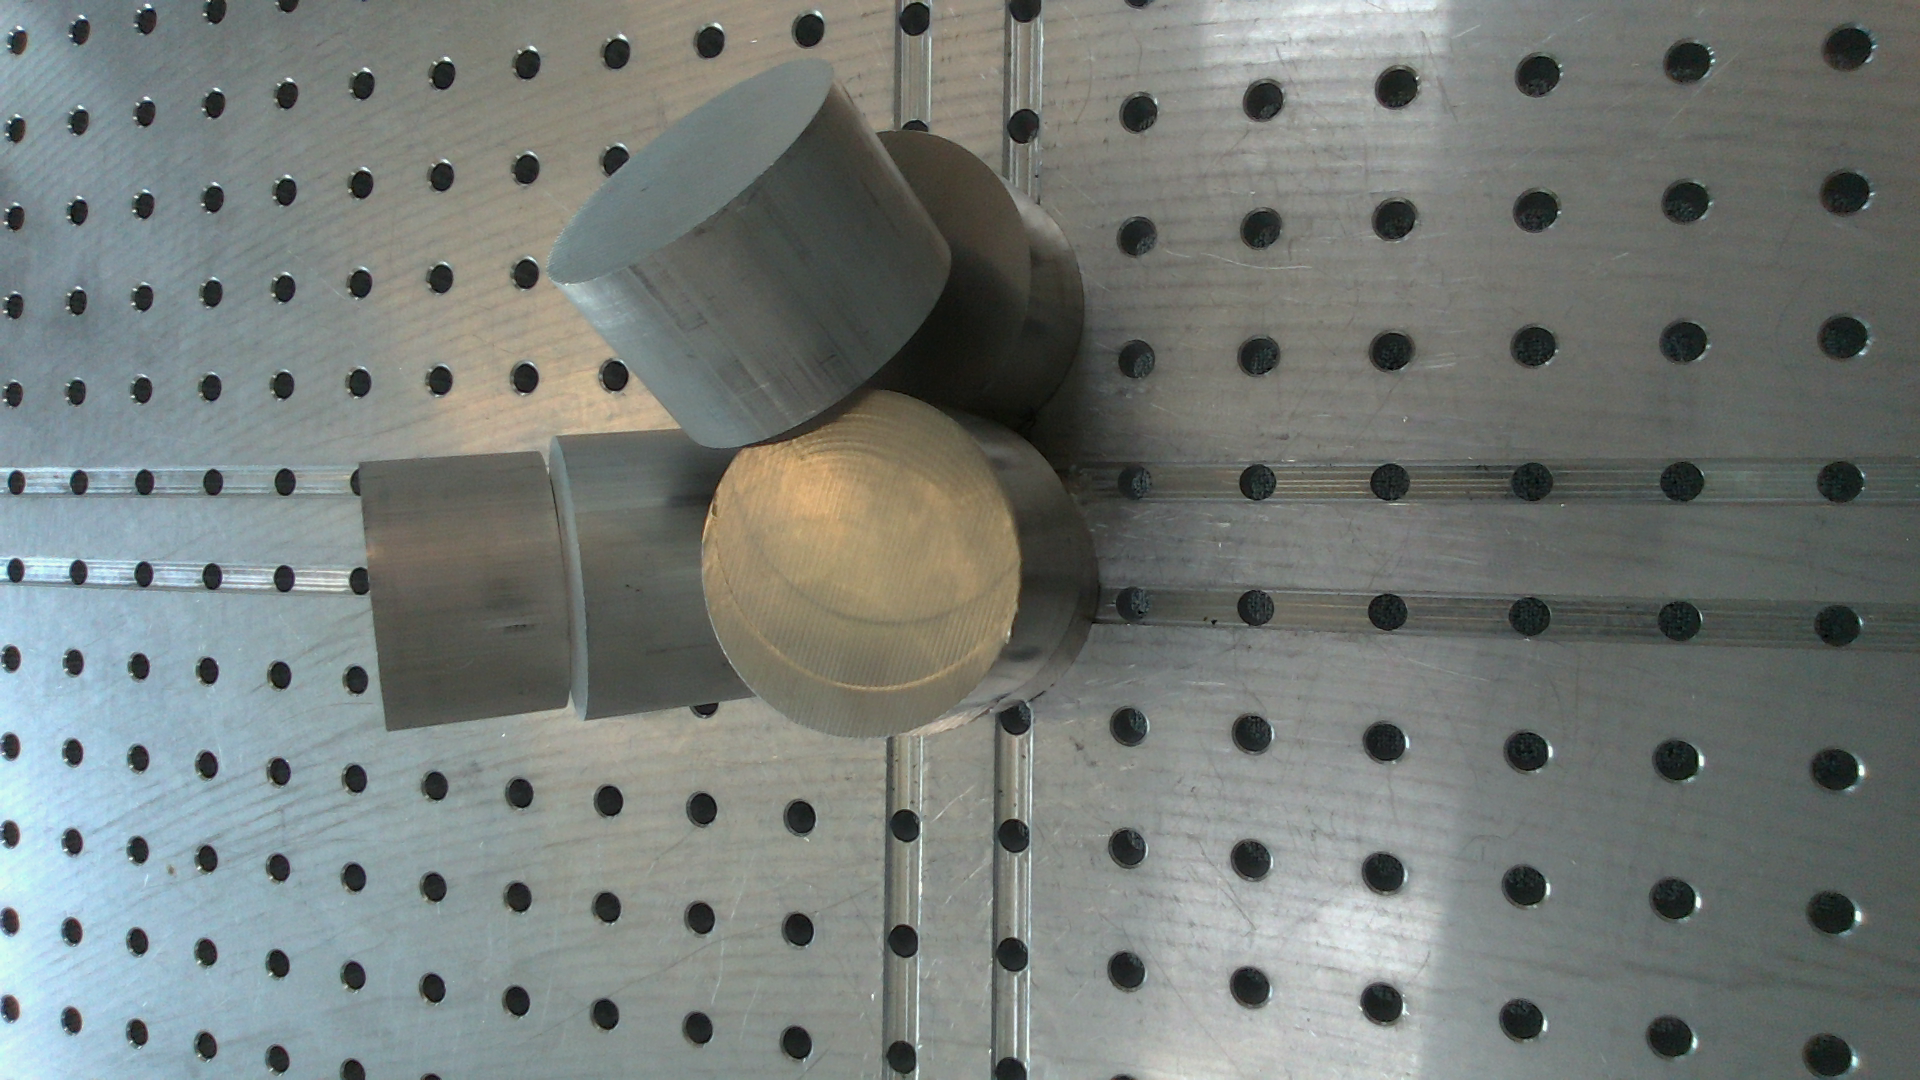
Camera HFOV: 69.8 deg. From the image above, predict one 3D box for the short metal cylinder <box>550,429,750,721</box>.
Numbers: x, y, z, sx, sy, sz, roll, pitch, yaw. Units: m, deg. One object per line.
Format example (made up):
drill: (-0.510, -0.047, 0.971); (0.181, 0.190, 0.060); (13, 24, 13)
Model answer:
short metal cylinder: (-0.087, 0.008, 0.393); (0.050, 0.080, 0.080); (-6, 88, -21)

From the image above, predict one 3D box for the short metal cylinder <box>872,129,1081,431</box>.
short metal cylinder: (-0.011, -0.069, 0.389); (0.080, 0.050, 0.080); (0, 90, 20)

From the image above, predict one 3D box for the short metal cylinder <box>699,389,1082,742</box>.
short metal cylinder: (-0.016, 0.006, 0.336); (0.080, 0.050, 0.080); (0, 90, 20)

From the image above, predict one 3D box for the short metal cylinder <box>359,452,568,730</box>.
short metal cylinder: (-0.150, 0.014, 0.417); (0.050, 0.080, 0.080); (-6, 87, -22)

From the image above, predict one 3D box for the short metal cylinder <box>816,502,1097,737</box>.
short metal cylinder: (-0.007, 0.012, 0.387); (0.080, 0.050, 0.080); (0, 90, 20)

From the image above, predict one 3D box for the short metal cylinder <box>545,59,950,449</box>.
short metal cylinder: (-0.050, -0.068, 0.326); (0.080, 0.080, 0.050); (-25, 125, 18)
